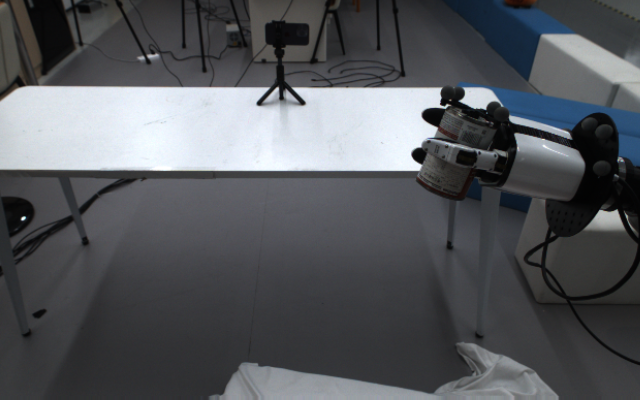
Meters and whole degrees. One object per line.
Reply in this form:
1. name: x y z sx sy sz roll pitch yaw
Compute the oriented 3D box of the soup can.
1. soup can: 0.173 -0.060 0.612 0.067 0.101 0.067 17 21 -7
